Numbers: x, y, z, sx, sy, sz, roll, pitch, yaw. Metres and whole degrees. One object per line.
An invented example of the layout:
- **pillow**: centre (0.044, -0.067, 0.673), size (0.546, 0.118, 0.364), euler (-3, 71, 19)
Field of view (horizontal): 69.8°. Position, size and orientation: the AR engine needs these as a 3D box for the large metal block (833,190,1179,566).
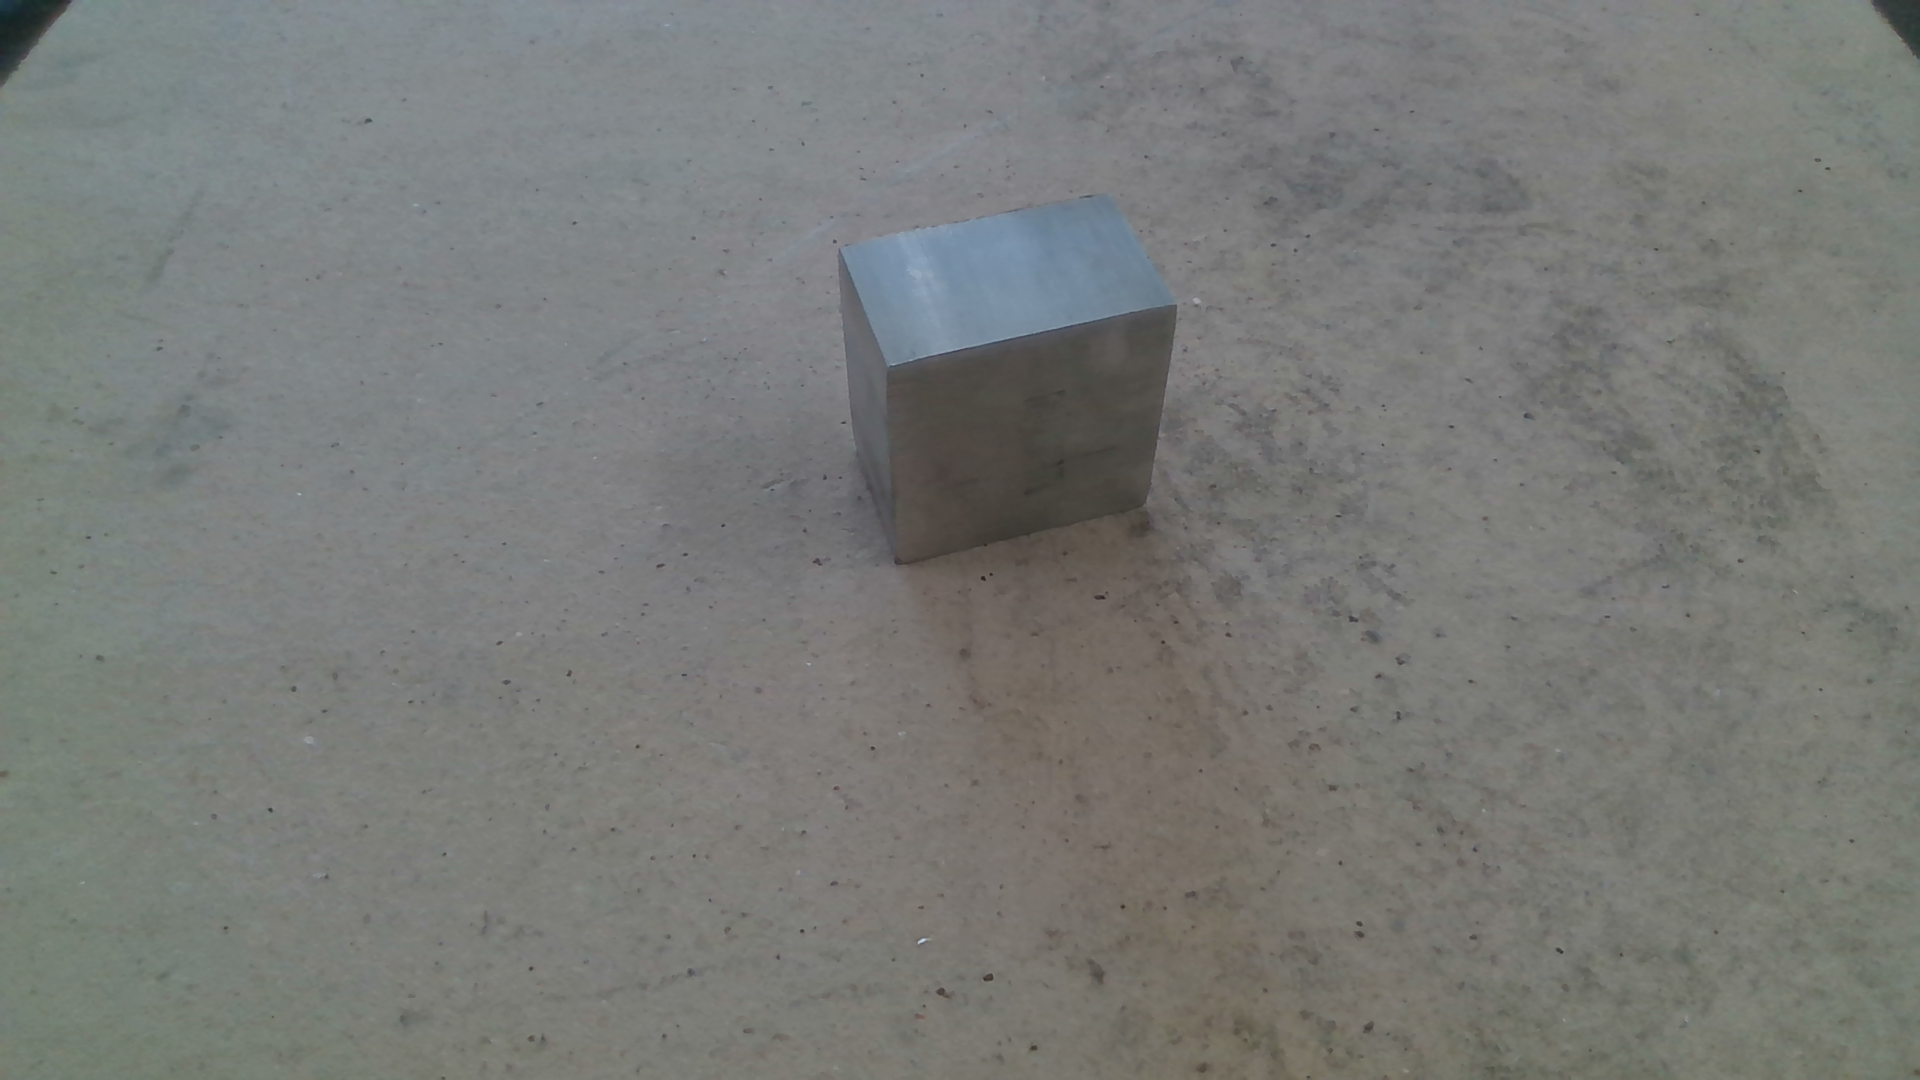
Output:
- **large metal block**: centre (0.011, -0.046, 0.396), size (0.080, 0.080, 0.050), euler (-13, 51, -11)
